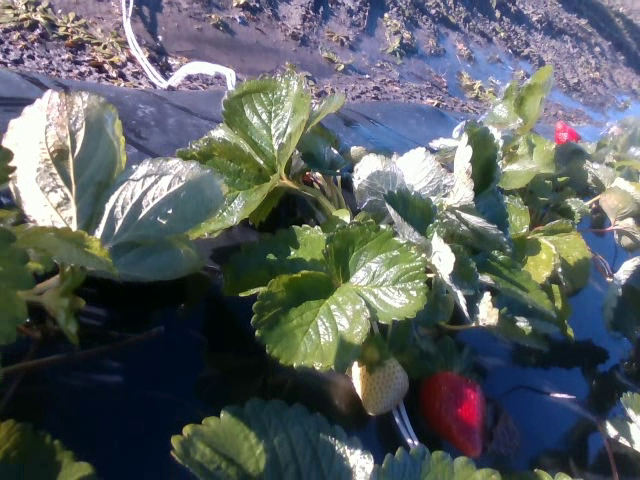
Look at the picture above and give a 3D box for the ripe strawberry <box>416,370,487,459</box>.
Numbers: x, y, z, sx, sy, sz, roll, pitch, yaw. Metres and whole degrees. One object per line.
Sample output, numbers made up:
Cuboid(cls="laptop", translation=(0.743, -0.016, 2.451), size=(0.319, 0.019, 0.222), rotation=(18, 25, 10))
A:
Cuboid(cls="ripe strawberry", translation=(0.103, 0.117, 0.402), size=(0.040, 0.062, 0.080), rotation=(-28, 26, 10))
